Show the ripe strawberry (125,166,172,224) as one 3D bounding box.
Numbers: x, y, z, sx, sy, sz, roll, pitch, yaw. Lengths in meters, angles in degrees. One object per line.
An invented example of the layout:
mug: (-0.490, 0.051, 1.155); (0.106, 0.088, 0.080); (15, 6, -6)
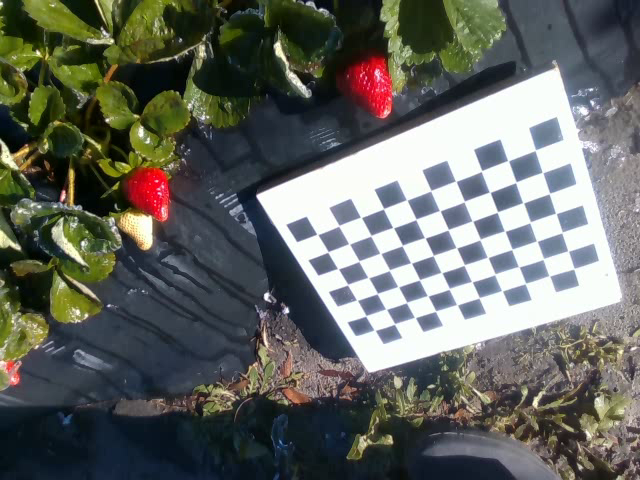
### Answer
ripe strawberry: (-0.156, -0.040, 0.576); (0.042, 0.061, 0.046); (-34, -15, 25)

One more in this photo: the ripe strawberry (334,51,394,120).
ripe strawberry: (0.041, -0.122, 0.494); (0.049, 0.061, 0.044); (-27, -2, 21)
